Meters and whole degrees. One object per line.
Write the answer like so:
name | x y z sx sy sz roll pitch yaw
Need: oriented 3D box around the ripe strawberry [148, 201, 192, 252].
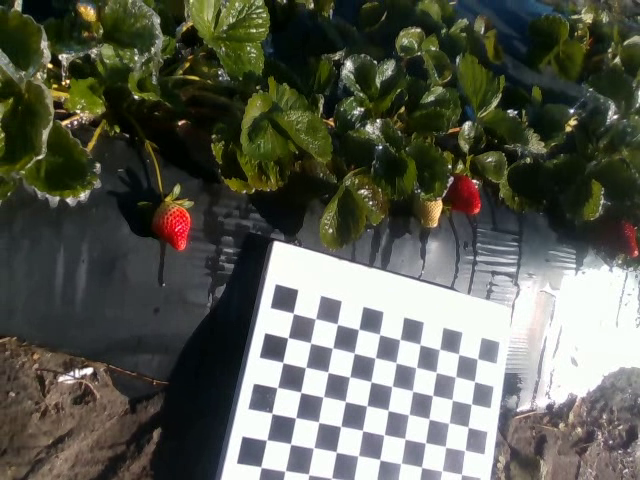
ripe strawberry | -0.132 -0.011 0.539 0.039 0.053 0.041 -7 -22 -22
